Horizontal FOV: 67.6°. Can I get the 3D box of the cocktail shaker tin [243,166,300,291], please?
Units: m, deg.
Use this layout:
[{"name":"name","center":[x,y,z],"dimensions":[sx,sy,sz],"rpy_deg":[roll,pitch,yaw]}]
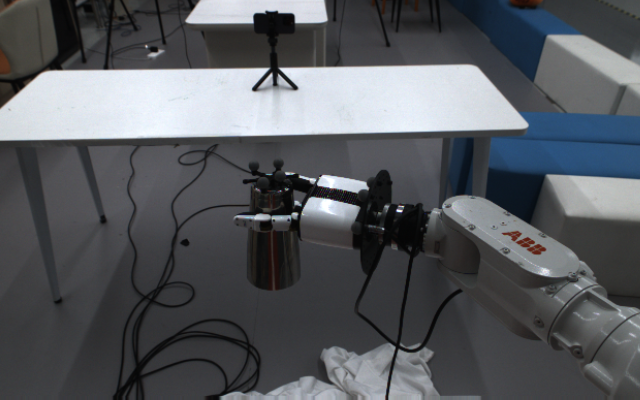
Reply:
[{"name":"cocktail shaker tin","center":[-0.075,0.048,0.790],"dimensions":[0.093,0.170,0.093],"rpy_deg":[1,27,-1]}]
